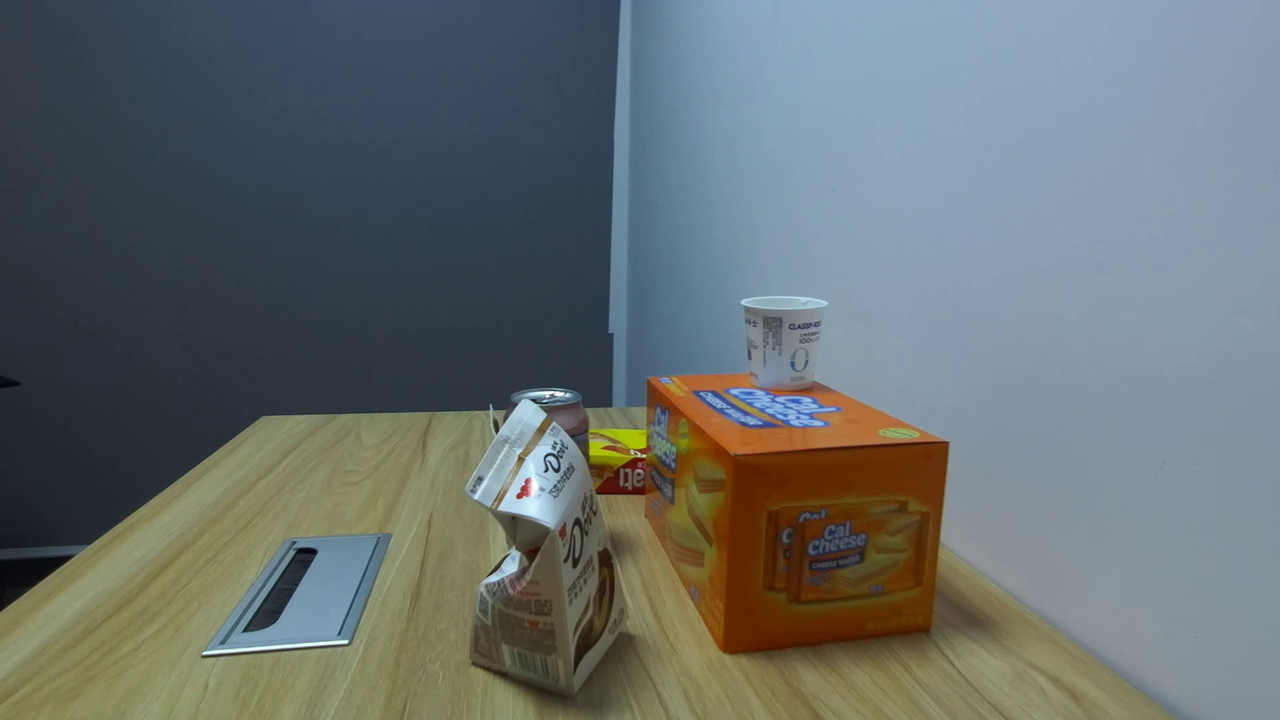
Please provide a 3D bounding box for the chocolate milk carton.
[{"bbox_3d":[-0.060,0.106,0.406,0.076,0.155,0.089,0,23,22],"label":"chocolate milk carton"}]

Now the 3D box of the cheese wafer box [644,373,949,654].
[{"bbox_3d":[0.101,0.095,0.531,0.148,0.129,0.221,-2,11,-12],"label":"cheese wafer box"}]

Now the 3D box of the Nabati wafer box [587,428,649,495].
[{"bbox_3d":[-0.034,0.101,0.717,0.203,0.042,0.096,0,8,-4],"label":"Nabati wafer box"}]

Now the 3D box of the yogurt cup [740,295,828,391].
[{"bbox_3d":[0.117,-0.014,0.580,0.072,0.068,0.072,-1,14,1],"label":"yogurt cup"}]

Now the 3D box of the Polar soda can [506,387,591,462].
[{"bbox_3d":[-0.073,0.088,0.557,0.067,0.125,0.067,1,0,0],"label":"Polar soda can"}]
